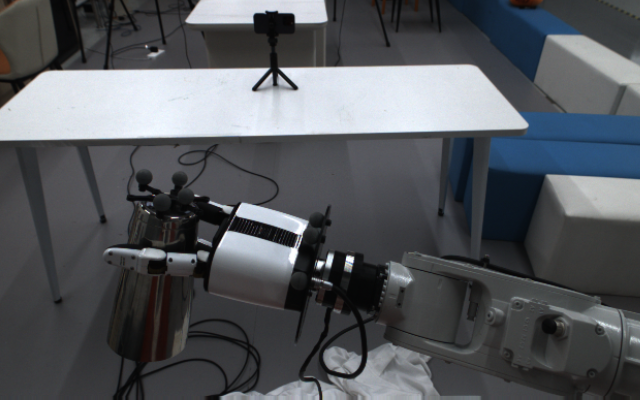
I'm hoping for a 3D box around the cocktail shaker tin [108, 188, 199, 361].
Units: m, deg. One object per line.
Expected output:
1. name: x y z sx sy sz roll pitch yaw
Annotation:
1. cocktail shaker tin: -0.182 0.083 0.549 0.093 0.170 0.093 14 18 -5
